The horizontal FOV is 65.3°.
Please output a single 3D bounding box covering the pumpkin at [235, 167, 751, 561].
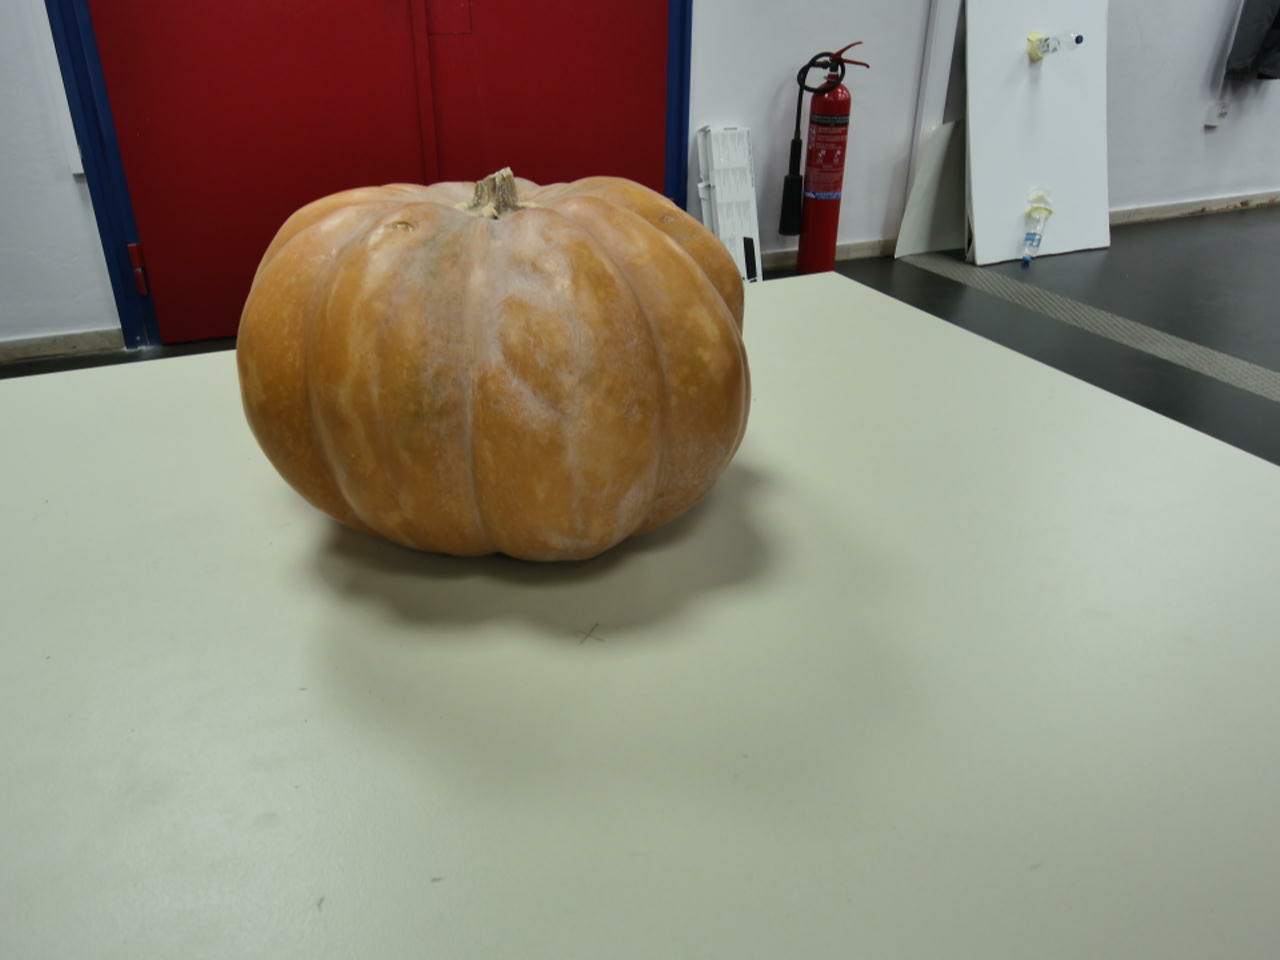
[{"bbox_3d":[-0.069,-0.066,0.518,0.277,0.181,0.277,0,26,0],"label":"pumpkin"}]
